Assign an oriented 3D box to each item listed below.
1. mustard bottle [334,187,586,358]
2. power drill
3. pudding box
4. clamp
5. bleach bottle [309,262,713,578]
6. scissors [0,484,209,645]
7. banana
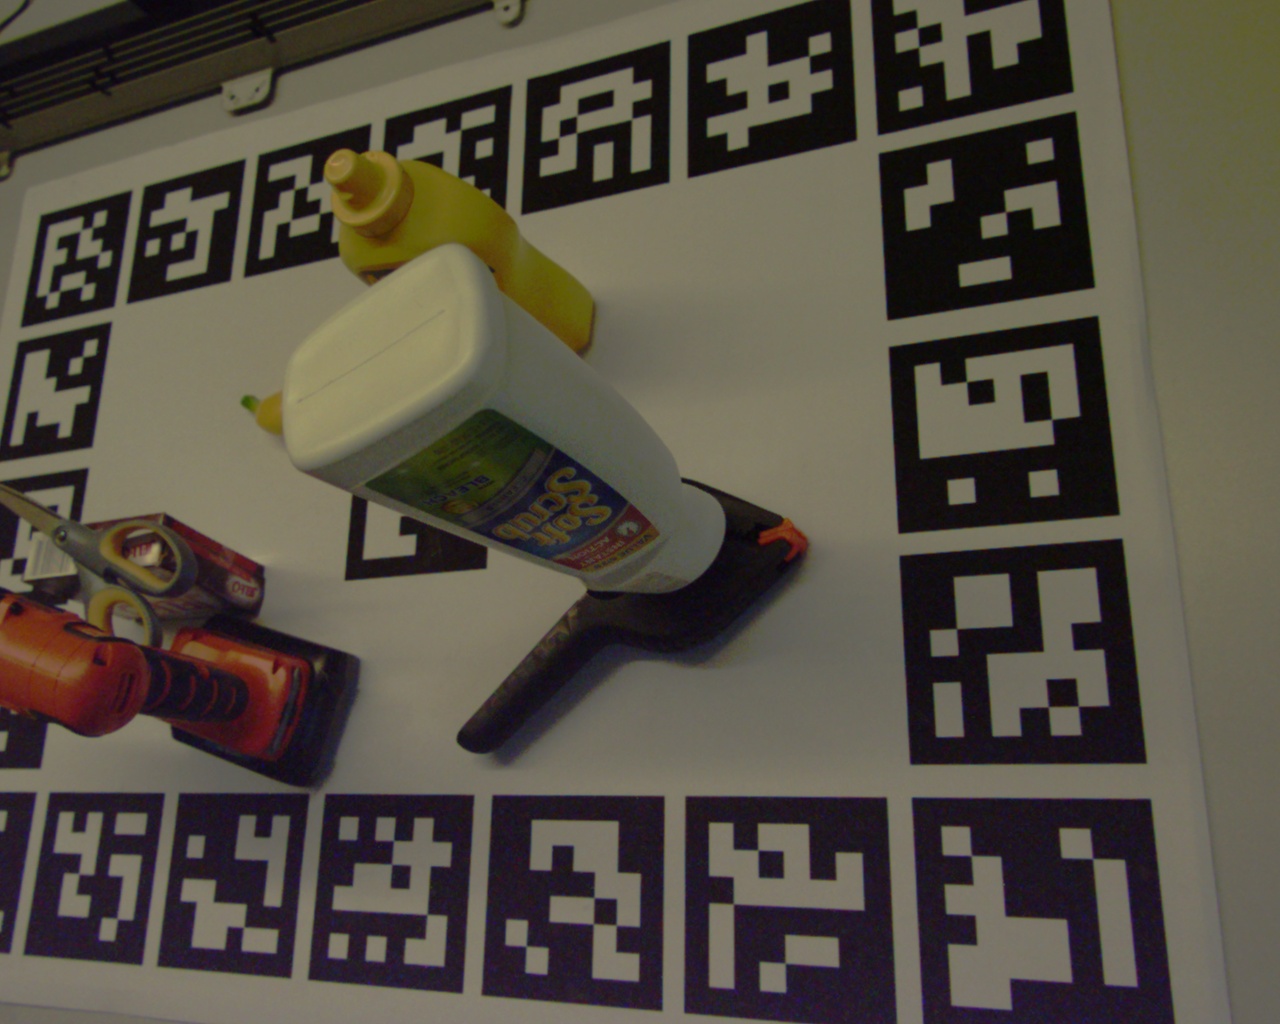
[{"bbox_3d":[-0.111,-0.131,0.653,0.097,0.189,0.058,9,78,25],"label":"mustard bottle"},{"bbox_3d":[-0.294,0.093,0.635,0.187,0.185,0.057,7,71,29],"label":"power drill"},{"bbox_3d":[-0.318,0.037,0.748,0.115,0.089,0.039,-2,67,23],"label":"pudding box"},{"bbox_3d":[-0.022,0.026,0.630,0.204,0.036,0.166,-13,72,19],"label":"clamp"},{"bbox_3d":[-0.029,-0.019,0.530,0.103,0.247,0.068,-28,62,22],"label":"bleach bottle"},{"bbox_3d":[-0.351,0.015,0.698,0.205,0.015,0.088,21,88,23],"label":"scissors"},{"bbox_3d":[-0.186,-0.117,0.756,0.198,0.038,0.075,-44,46,7],"label":"banana"}]
